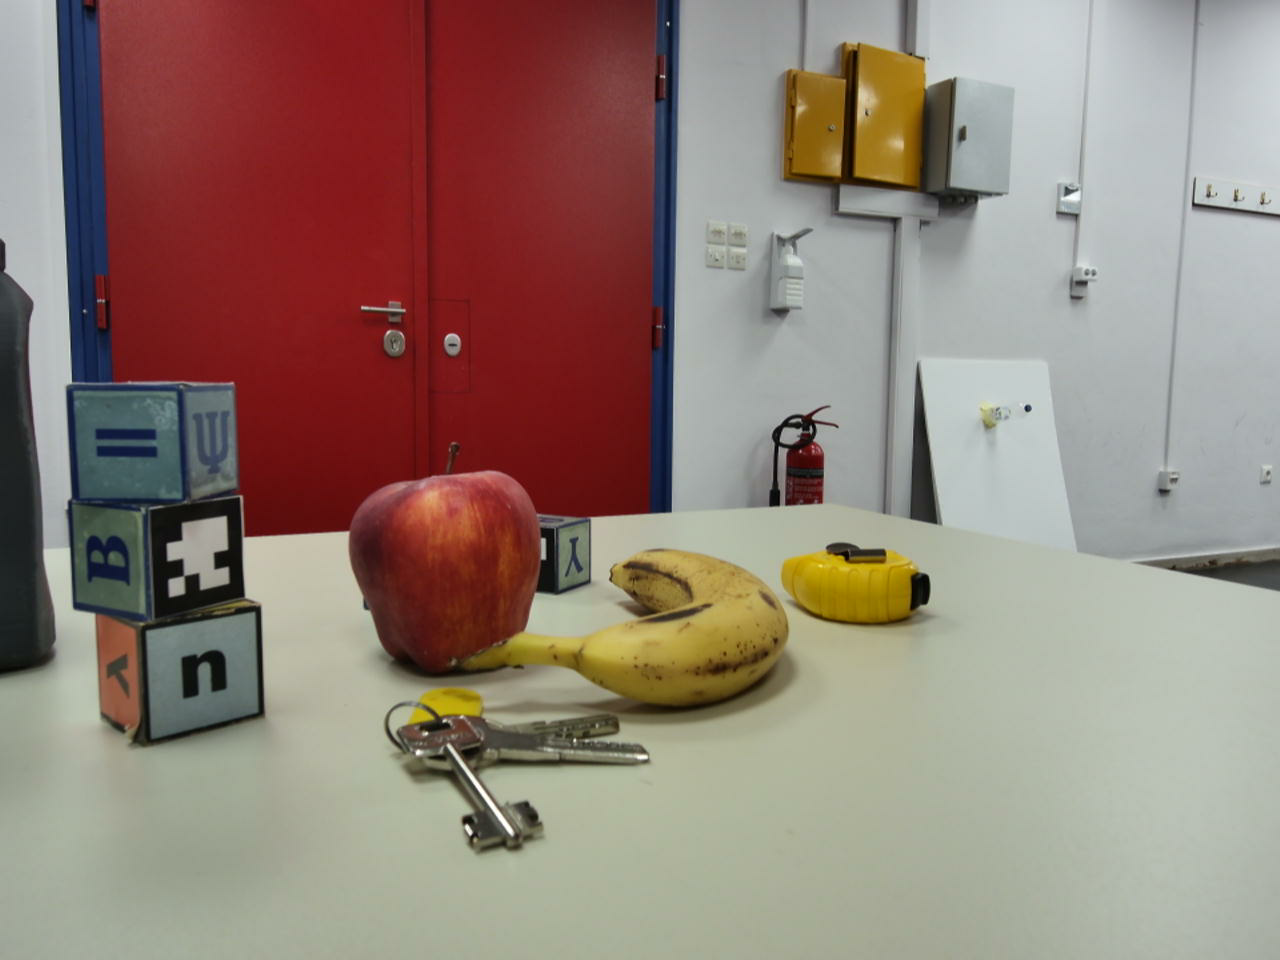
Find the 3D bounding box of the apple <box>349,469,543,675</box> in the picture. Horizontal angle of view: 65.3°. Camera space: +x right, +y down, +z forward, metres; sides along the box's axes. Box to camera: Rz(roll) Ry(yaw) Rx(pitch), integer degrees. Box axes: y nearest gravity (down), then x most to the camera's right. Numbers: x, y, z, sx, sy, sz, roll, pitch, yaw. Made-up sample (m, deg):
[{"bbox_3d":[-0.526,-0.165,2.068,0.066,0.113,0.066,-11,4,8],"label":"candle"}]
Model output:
[{"bbox_3d":[-0.080,0.031,0.412,0.083,0.090,0.083,1,4,0],"label":"apple"}]
